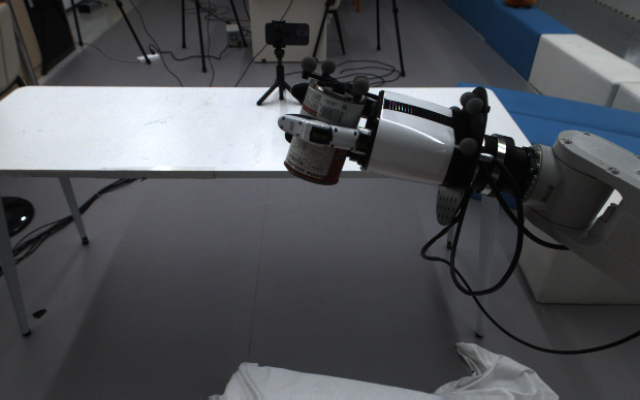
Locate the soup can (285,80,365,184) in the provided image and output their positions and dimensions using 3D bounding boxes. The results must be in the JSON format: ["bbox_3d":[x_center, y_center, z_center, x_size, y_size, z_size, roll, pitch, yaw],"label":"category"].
[{"bbox_3d":[0.006,-0.077,0.552,0.067,0.101,0.067,17,21,-7],"label":"soup can"}]
